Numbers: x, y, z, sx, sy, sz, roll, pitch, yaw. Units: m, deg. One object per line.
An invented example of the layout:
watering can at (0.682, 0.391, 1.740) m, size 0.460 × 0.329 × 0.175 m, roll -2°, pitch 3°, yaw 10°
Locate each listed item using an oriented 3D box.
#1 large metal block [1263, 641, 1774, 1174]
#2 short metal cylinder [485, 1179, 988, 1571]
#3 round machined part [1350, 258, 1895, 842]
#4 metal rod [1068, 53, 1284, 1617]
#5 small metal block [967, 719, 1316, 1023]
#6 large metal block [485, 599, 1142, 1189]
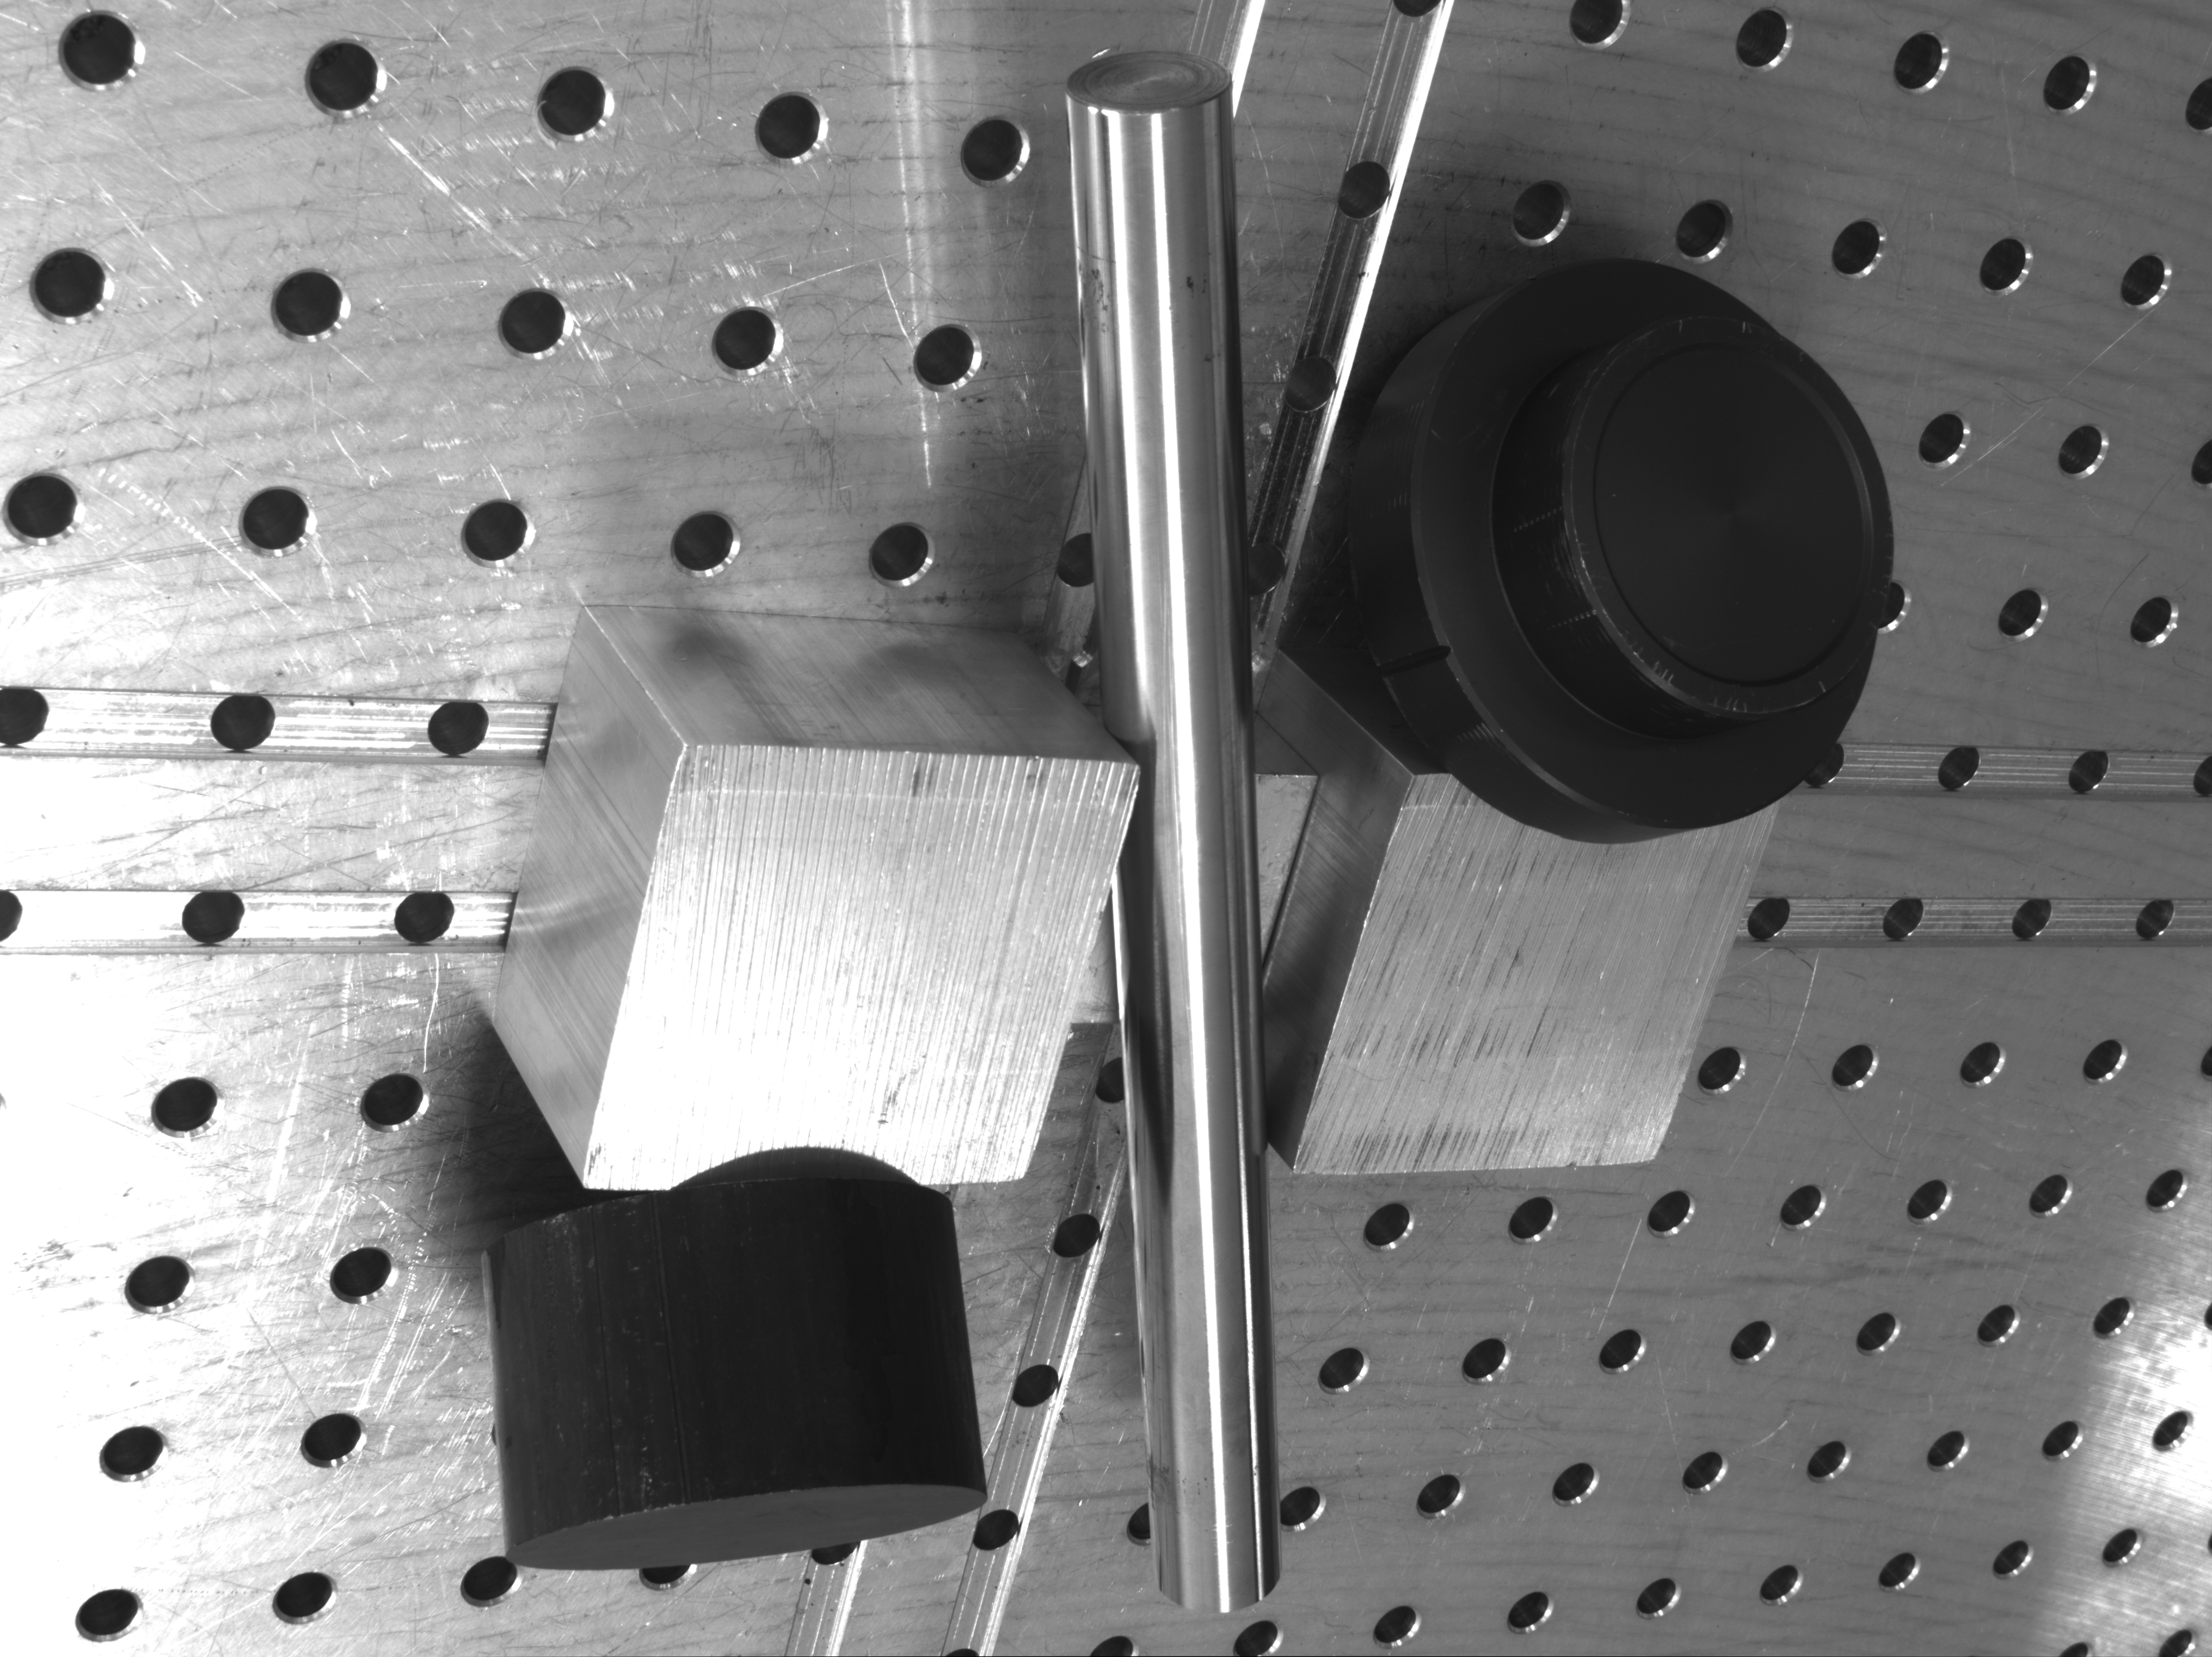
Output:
large metal block at (0.066, 0.014, 0.670) m, size 0.080 × 0.050 × 0.080 m, roll 1°, pitch 118°, yaw -29°
short metal cylinder at (-0.063, 0.093, 0.621) m, size 0.080 × 0.050 × 0.080 m, roll -7°, pitch 163°, yaw -2°
round machined part at (0.093, -0.048, 0.619) m, size 0.098 × 0.042 × 0.098 m, roll 4°, pitch 81°, yaw -28°
metal rod at (0.014, 0.016, 0.625) m, size 0.025 × 0.025 × 0.300 m, roll -16°, pitch 125°, yaw -19°
small metal block at (0.004, 0.006, 0.647) m, size 0.050 × 0.025 × 0.050 m, roll 1°, pitch 118°, yaw -28°
large metal block at (-0.050, 0.011, 0.606) m, size 0.080 × 0.050 × 0.080 m, roll 2°, pitch 117°, yaw -29°
